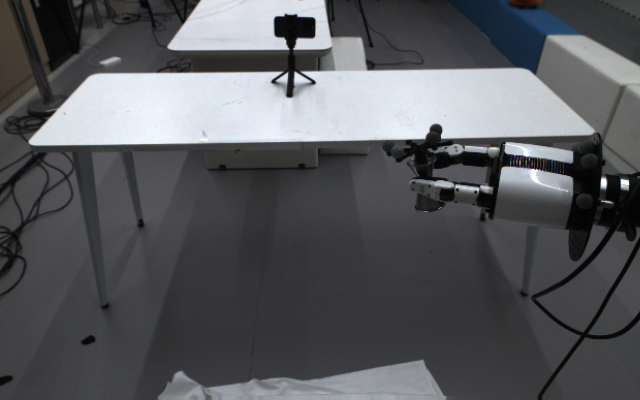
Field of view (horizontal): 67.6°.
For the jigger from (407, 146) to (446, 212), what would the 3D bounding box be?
[{"bbox_3d":[0.145,-0.023,0.661,0.043,0.071,0.043,-14,21,6],"label":"jigger"}]
